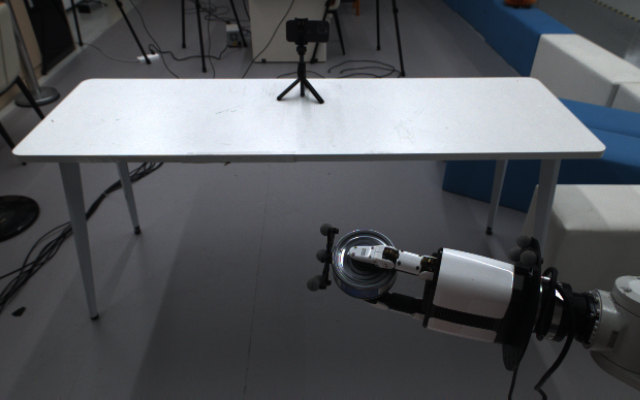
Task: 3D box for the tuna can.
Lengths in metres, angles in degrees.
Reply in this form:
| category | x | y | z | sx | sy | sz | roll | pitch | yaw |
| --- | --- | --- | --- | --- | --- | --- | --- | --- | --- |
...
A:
| category | x | y | z | sx | sy | sz | roll | pitch | yaw |
| --- | --- | --- | --- | --- | --- | --- | --- | --- | --- |
| tuna can | 0.061 | 0.084 | 0.617 | 0.085 | 0.034 | 0.085 | -2 | 57 | 3 |
